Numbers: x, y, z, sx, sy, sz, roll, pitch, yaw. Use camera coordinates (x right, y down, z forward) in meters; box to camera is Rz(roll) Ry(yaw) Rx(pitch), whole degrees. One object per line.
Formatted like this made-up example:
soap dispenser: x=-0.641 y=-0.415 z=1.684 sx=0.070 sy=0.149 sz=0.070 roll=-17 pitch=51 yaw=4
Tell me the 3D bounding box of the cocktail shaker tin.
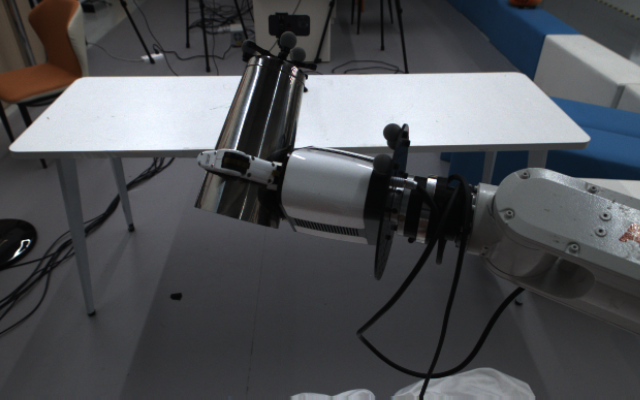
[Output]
cocktail shaker tin: x=-0.068 y=-0.061 z=0.526 sx=0.093 sy=0.170 sz=0.093 roll=15 pitch=-4 yaw=1
